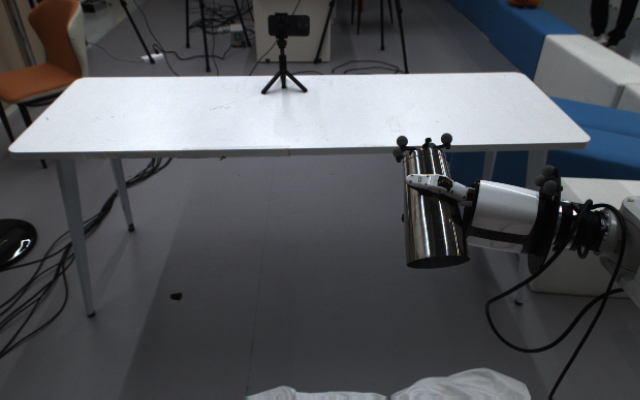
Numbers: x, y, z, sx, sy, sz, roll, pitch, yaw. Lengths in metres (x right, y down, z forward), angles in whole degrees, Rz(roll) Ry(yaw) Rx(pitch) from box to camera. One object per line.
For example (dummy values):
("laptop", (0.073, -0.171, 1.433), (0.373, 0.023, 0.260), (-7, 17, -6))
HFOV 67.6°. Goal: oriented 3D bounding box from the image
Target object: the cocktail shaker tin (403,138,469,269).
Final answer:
("cocktail shaker tin", (0.168, 0.011, 0.733), (0.093, 0.093, 0.170), (-2, 71, -6))
